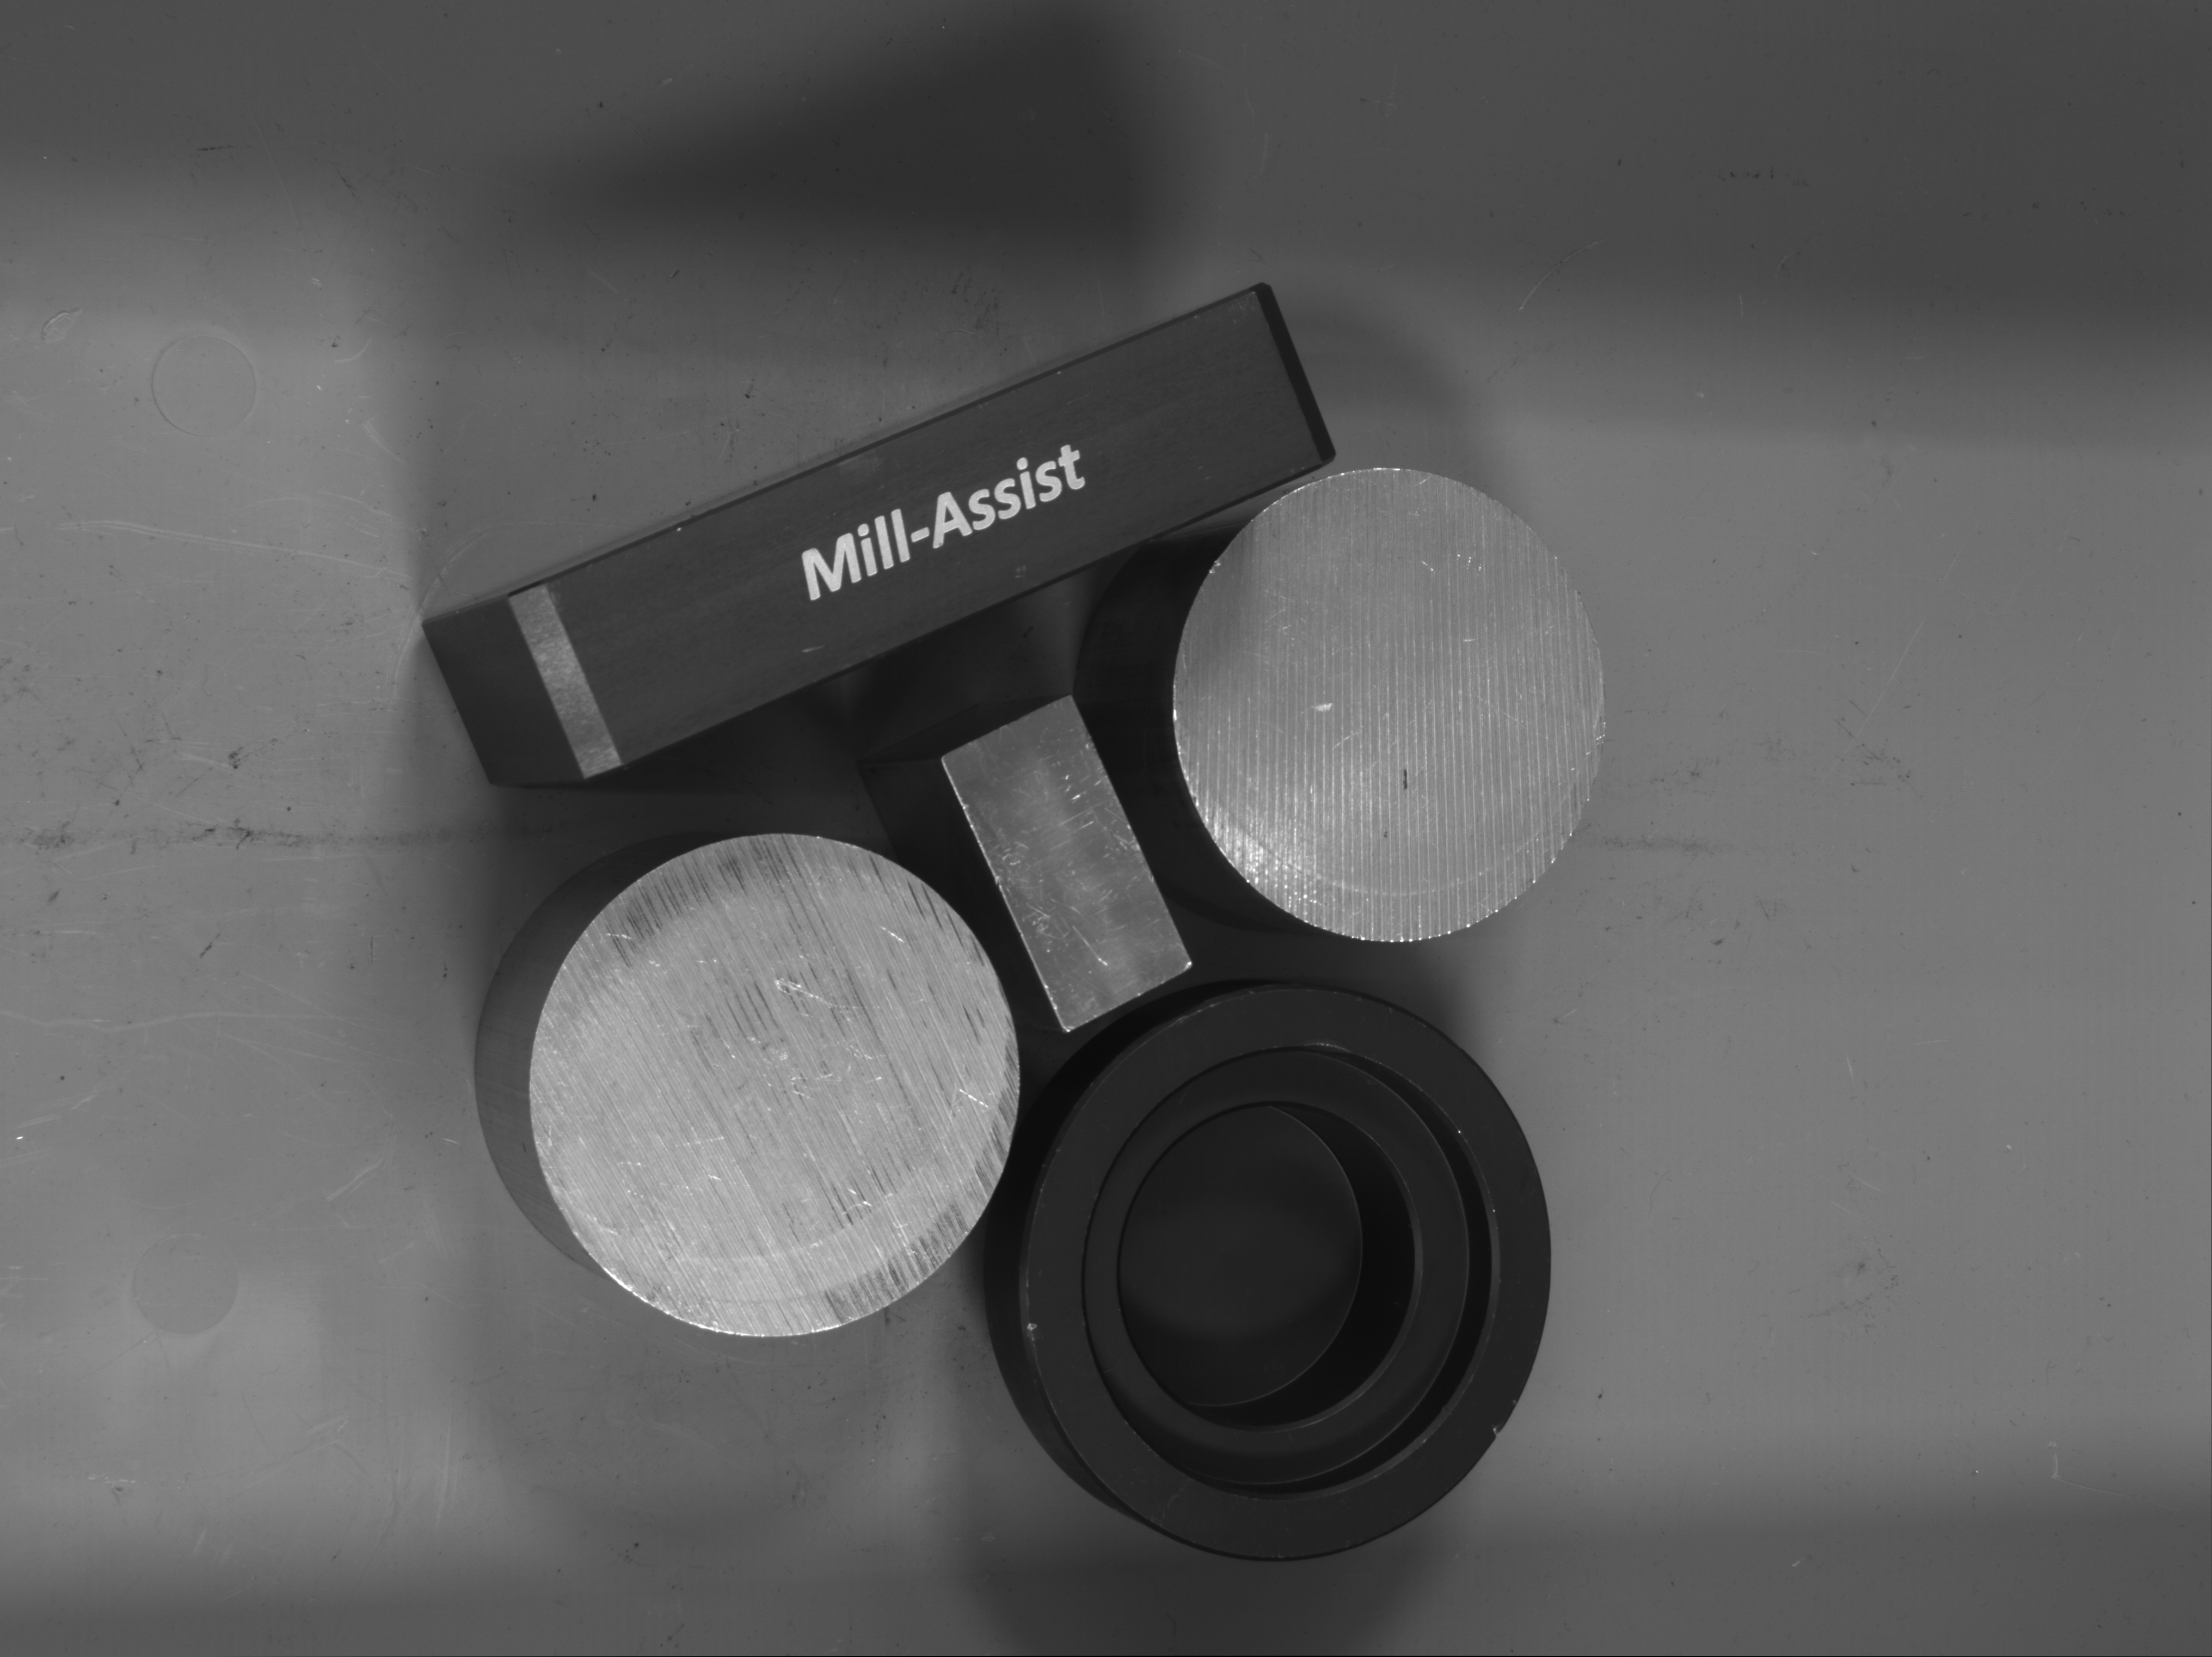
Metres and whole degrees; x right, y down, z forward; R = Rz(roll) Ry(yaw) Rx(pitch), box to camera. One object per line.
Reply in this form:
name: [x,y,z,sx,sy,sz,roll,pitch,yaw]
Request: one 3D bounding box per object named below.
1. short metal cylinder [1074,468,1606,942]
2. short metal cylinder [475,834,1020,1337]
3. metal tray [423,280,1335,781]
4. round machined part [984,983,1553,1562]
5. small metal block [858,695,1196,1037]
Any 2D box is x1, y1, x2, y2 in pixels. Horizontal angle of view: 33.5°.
short metal cylinder: [0.040,-0.021,0.643,0.080,0.050,0.080,0,90,-20]
short metal cylinder: [-0.060,0.041,0.607,0.080,0.050,0.080,0,90,-20]
metal tray: [-0.039,-0.047,0.593,0.130,0.090,0.030,-25,98,-18]
round machined part: [0.025,0.075,0.642,0.098,0.042,0.098,0,90,-20]
small metal block: [-0.014,0.006,0.623,0.025,0.050,0.050,-26,99,-18]
